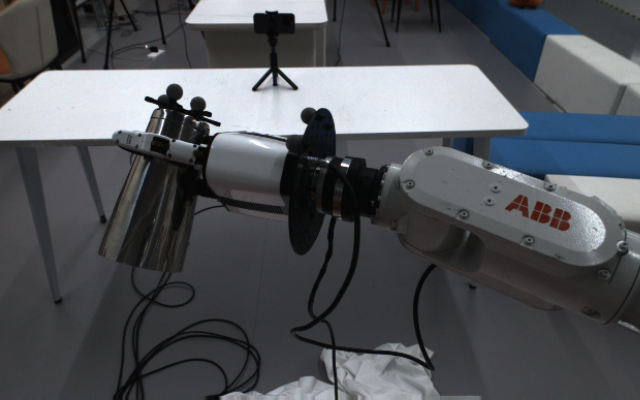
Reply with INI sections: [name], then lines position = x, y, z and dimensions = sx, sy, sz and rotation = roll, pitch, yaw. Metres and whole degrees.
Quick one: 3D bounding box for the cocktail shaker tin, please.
[cocktail shaker tin]
position = -0.179, -0.013, 0.552
dimensions = 0.093, 0.170, 0.093
rotation = 15, -5, 1
